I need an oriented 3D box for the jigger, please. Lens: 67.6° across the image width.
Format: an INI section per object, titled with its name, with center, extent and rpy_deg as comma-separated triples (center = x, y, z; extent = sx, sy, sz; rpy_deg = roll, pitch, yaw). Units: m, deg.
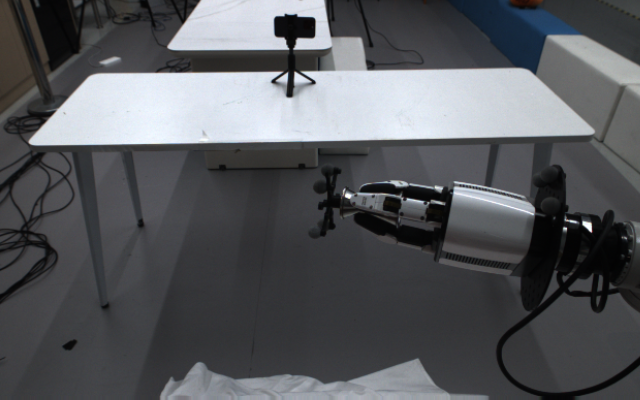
[jigger]
center = 0.067, 0.005, 0.568
extent = 0.071, 0.043, 0.043
rpy_deg = 7, 35, 14
